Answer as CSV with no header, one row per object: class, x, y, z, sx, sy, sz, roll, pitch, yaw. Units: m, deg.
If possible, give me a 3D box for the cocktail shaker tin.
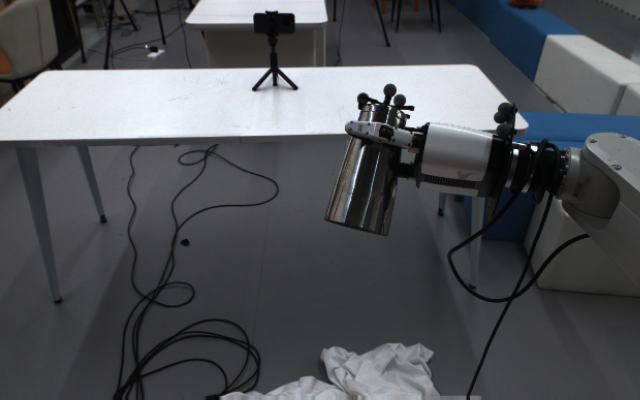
cocktail shaker tin,0.072,-0.046,0.682,0.093,0.170,0.093,15,-5,1
